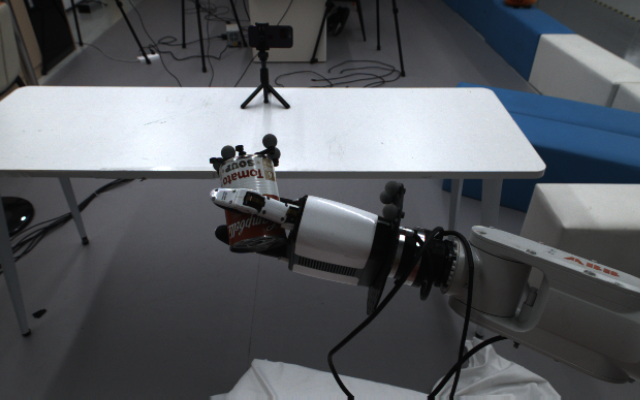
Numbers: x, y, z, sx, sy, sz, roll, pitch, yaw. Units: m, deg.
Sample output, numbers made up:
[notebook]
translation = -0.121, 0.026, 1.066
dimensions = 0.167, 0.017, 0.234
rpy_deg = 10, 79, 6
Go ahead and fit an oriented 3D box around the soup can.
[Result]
[soup can]
translation = -0.078, 0.006, 0.573
dimensions = 0.067, 0.067, 0.101
rpy_deg = -8, 74, -14
